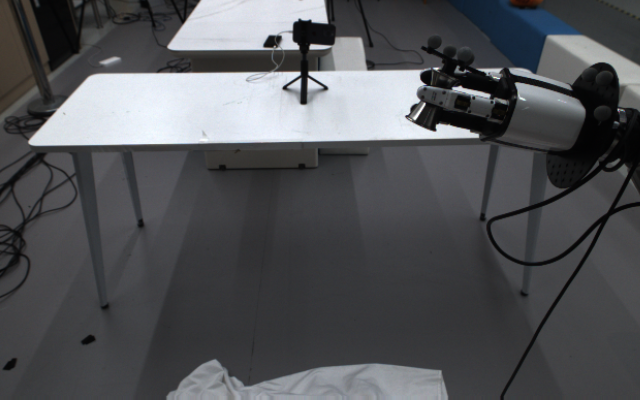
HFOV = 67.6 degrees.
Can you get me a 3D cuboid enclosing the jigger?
[{"bbox_3d":[0.141,-0.127,0.612,0.043,0.071,0.043,23,19,-8],"label":"jigger"}]
